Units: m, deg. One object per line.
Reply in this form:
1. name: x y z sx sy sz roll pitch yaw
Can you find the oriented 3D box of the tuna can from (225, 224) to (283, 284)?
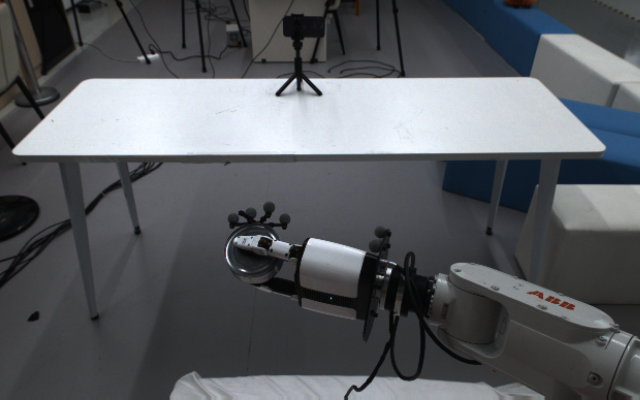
1. tuna can: -0.090 0.079 0.710 0.085 0.034 0.085 -2 58 3
